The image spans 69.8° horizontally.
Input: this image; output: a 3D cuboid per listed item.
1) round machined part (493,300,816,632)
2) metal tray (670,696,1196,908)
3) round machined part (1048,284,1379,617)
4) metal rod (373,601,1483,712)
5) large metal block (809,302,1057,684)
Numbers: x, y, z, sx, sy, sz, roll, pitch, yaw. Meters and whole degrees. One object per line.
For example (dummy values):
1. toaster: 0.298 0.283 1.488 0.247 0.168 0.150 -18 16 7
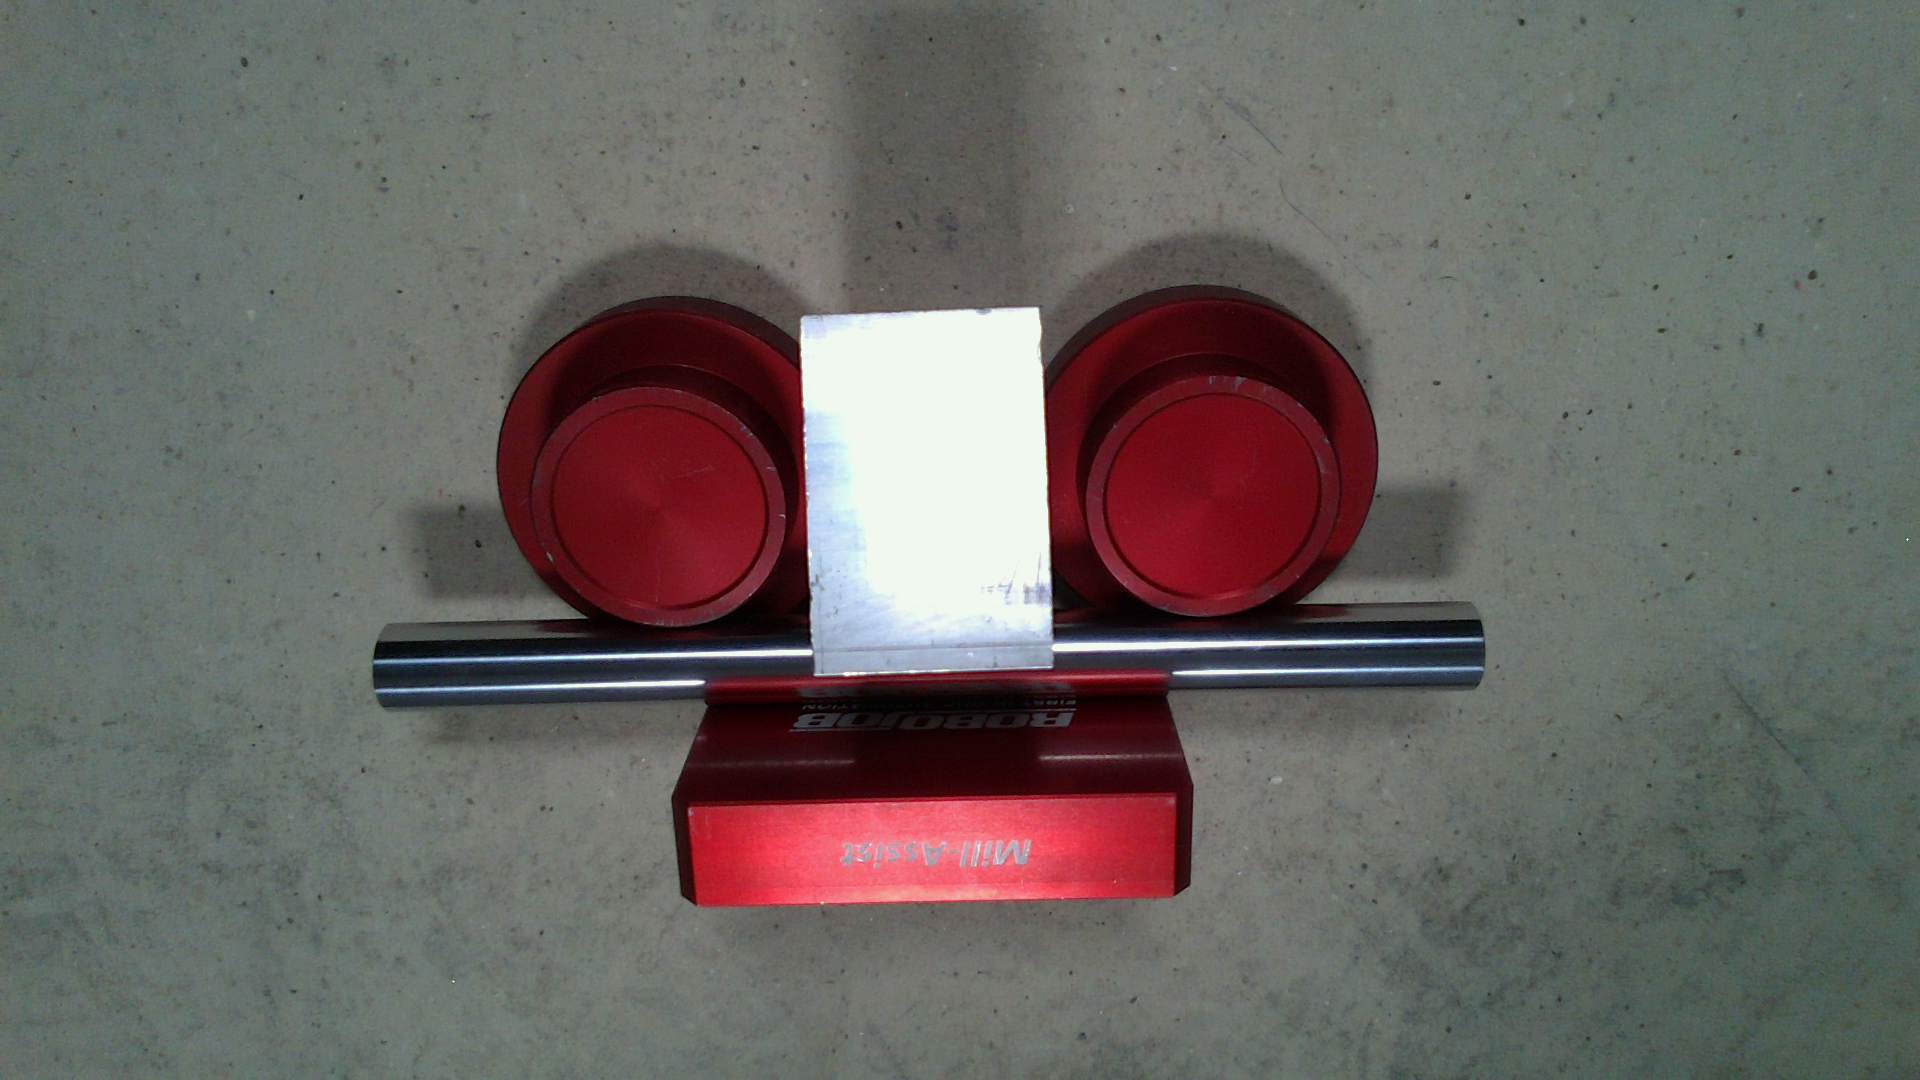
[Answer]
1. round machined part: -0.079 -0.014 0.377 0.098 0.042 0.098 0 110 0
2. metal tray: -0.006 0.062 0.382 0.130 0.090 0.030 -1 110 0
3. round machined part: 0.066 -0.018 0.378 0.098 0.042 0.098 0 110 0
4. metal rod: -0.009 0.032 0.384 0.300 0.025 0.025 -1 110 0
5. large metal block: -0.005 -0.008 0.333 0.050 0.080 0.080 -2 87 0
